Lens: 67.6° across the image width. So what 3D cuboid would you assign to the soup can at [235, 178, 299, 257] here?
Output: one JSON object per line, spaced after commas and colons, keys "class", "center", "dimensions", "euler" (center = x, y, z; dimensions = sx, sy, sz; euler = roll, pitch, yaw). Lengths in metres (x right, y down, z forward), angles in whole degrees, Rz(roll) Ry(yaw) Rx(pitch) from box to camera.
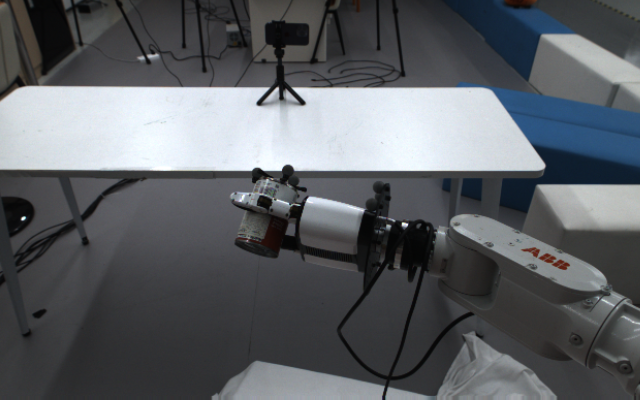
{"class": "soup can", "center": [-0.078, 0.025, 0.709], "dimensions": [0.067, 0.067, 0.101], "euler": [12, 71, 14]}
